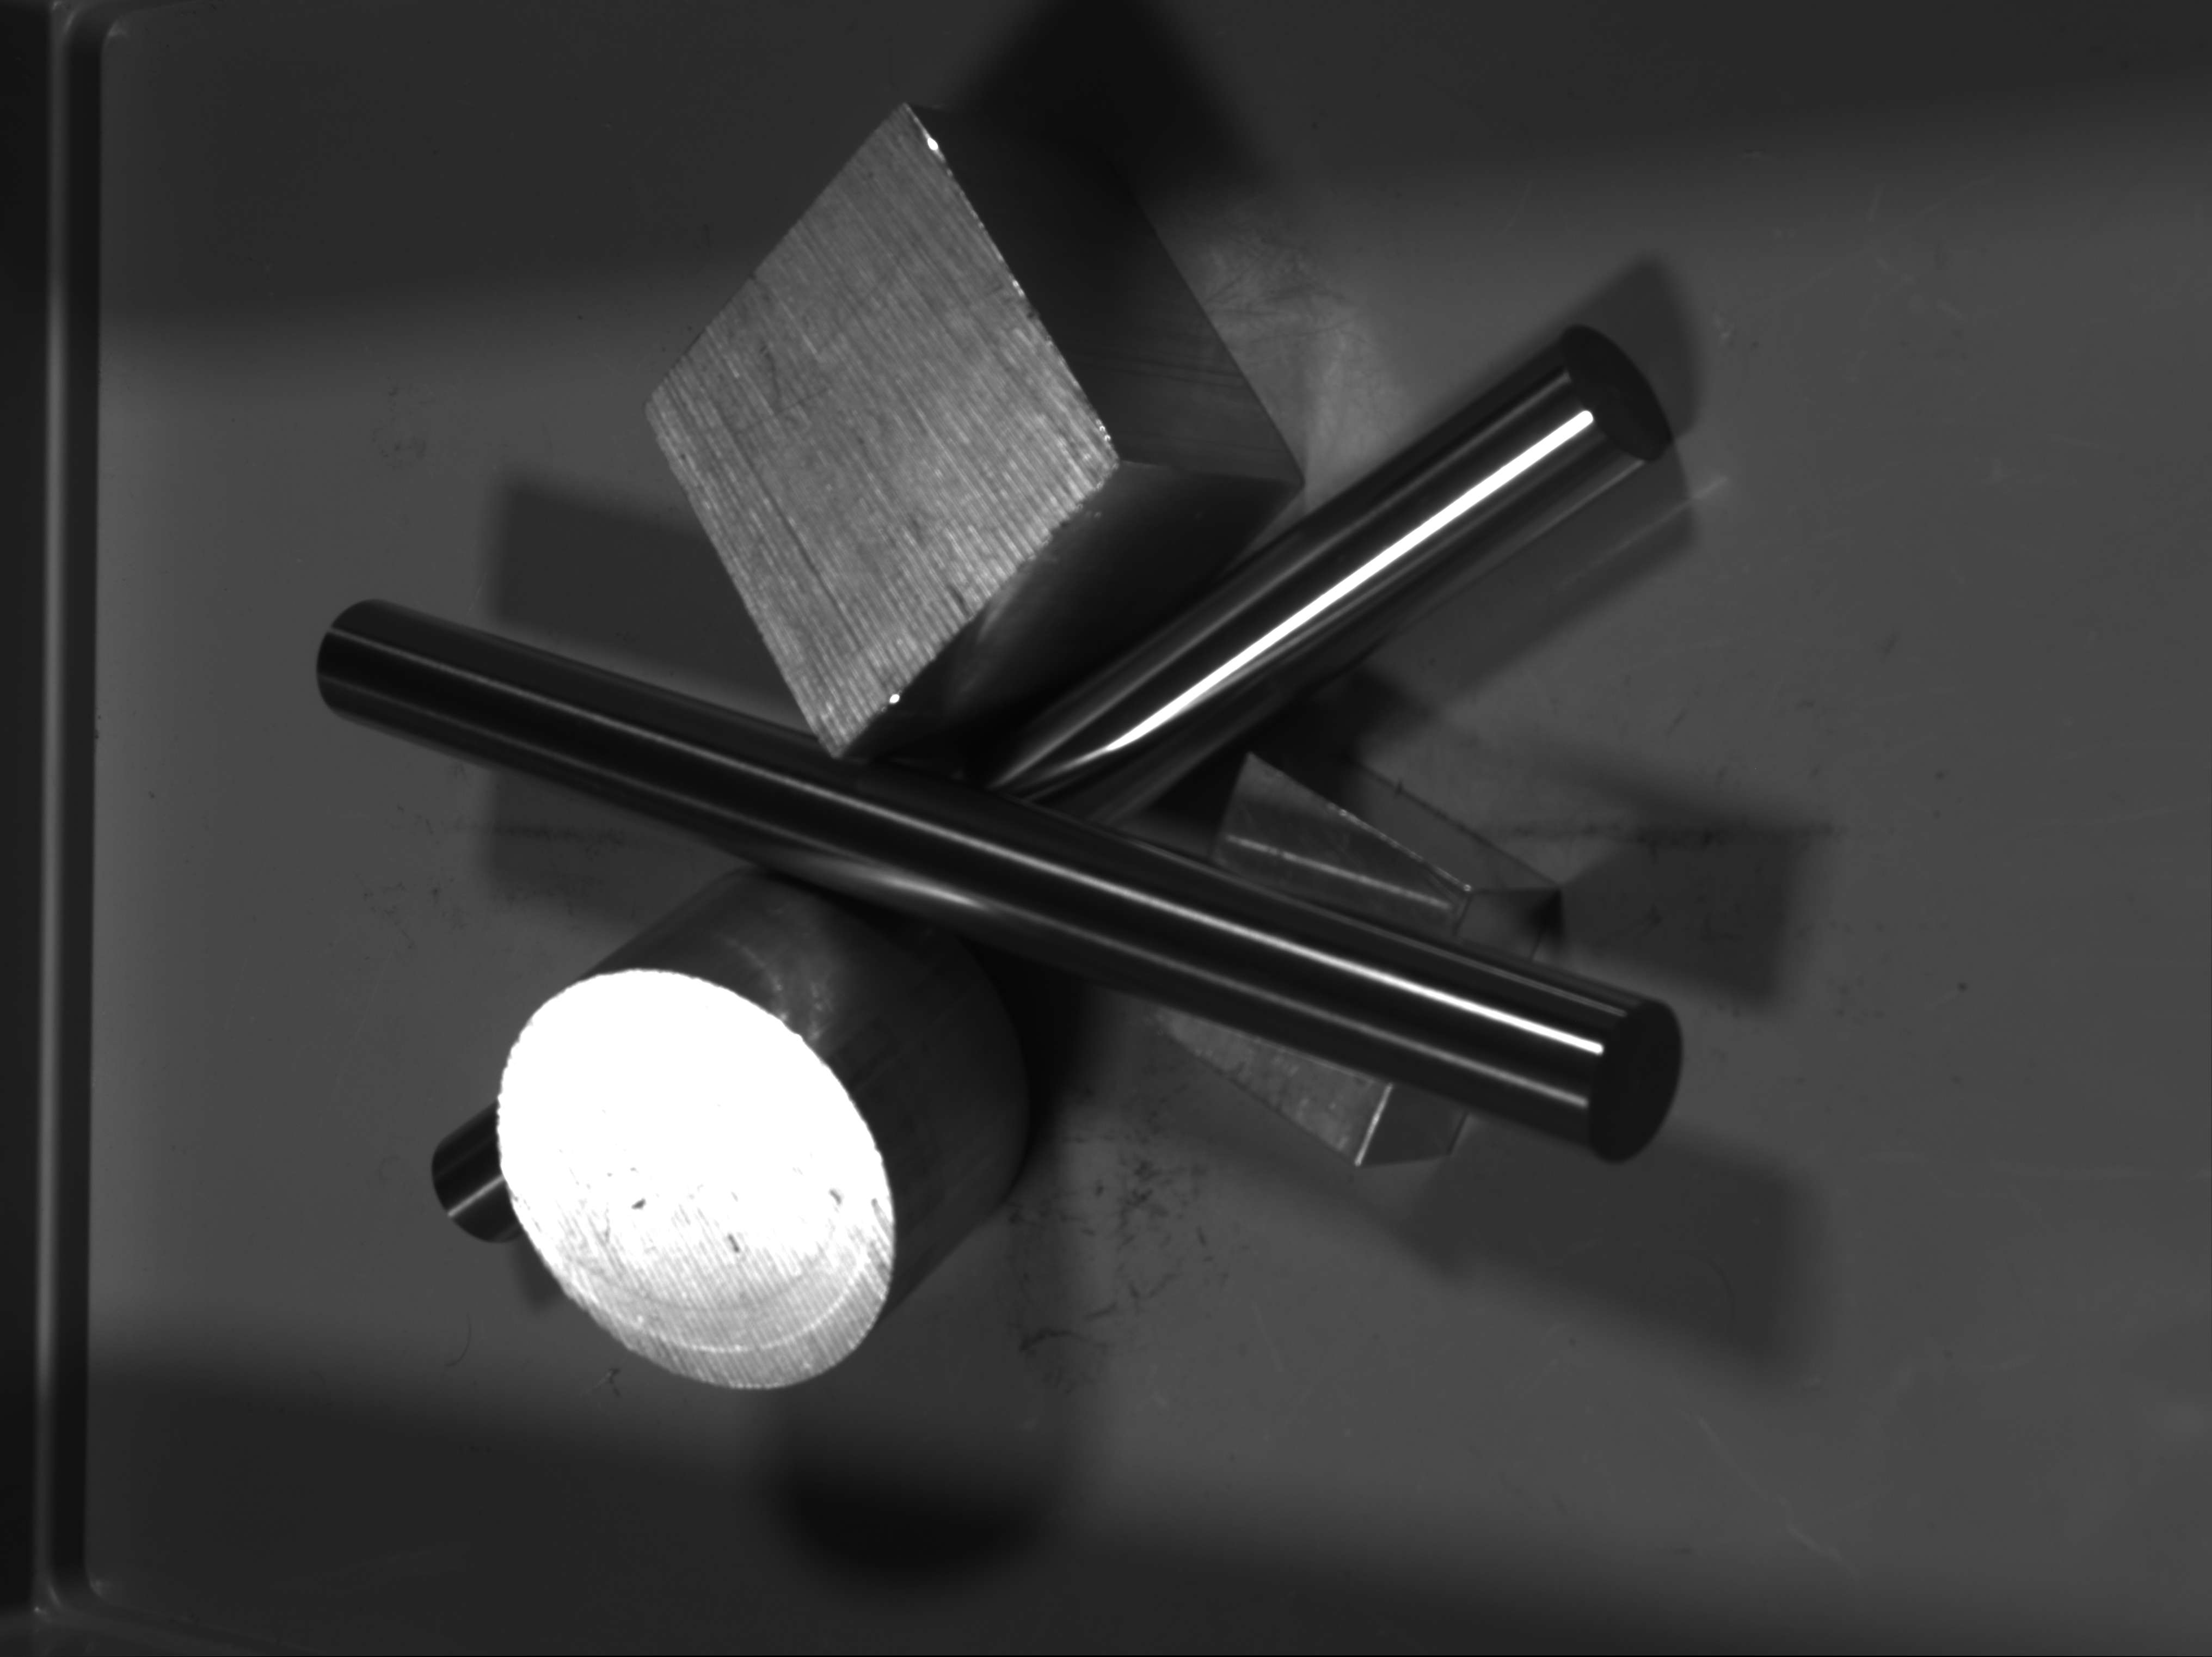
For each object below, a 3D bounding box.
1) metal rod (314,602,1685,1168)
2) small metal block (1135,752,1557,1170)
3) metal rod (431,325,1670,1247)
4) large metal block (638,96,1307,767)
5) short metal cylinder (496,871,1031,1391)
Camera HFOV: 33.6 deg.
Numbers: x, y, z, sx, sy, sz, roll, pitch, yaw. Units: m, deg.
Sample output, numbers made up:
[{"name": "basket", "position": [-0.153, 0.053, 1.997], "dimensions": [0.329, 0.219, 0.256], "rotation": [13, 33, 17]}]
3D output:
[{"name": "metal rod", "position": [-0.034, 0.003, 0.630], "dimensions": [0.299, 0.025, 0.025], "rotation": [17, 101, 38]}, {"name": "small metal block", "position": [0.039, 0.021, 0.601], "dimensions": [0.050, 0.025, 0.050], "rotation": [33, 110, 35]}, {"name": "metal rod", "position": [-0.023, 0.002, 0.653], "dimensions": [0.299, 0.025, 0.025], "rotation": [-34, 69, 34]}, {"name": "large metal block", "position": [-0.025, -0.067, 0.639], "dimensions": [0.080, 0.050, 0.080], "rotation": [-43, 64, 31]}, {"name": "short metal cylinder", "position": [-0.060, 0.052, 0.650], "dimensions": [0.080, 0.050, 0.080], "rotation": [11, 116, 23]}]
